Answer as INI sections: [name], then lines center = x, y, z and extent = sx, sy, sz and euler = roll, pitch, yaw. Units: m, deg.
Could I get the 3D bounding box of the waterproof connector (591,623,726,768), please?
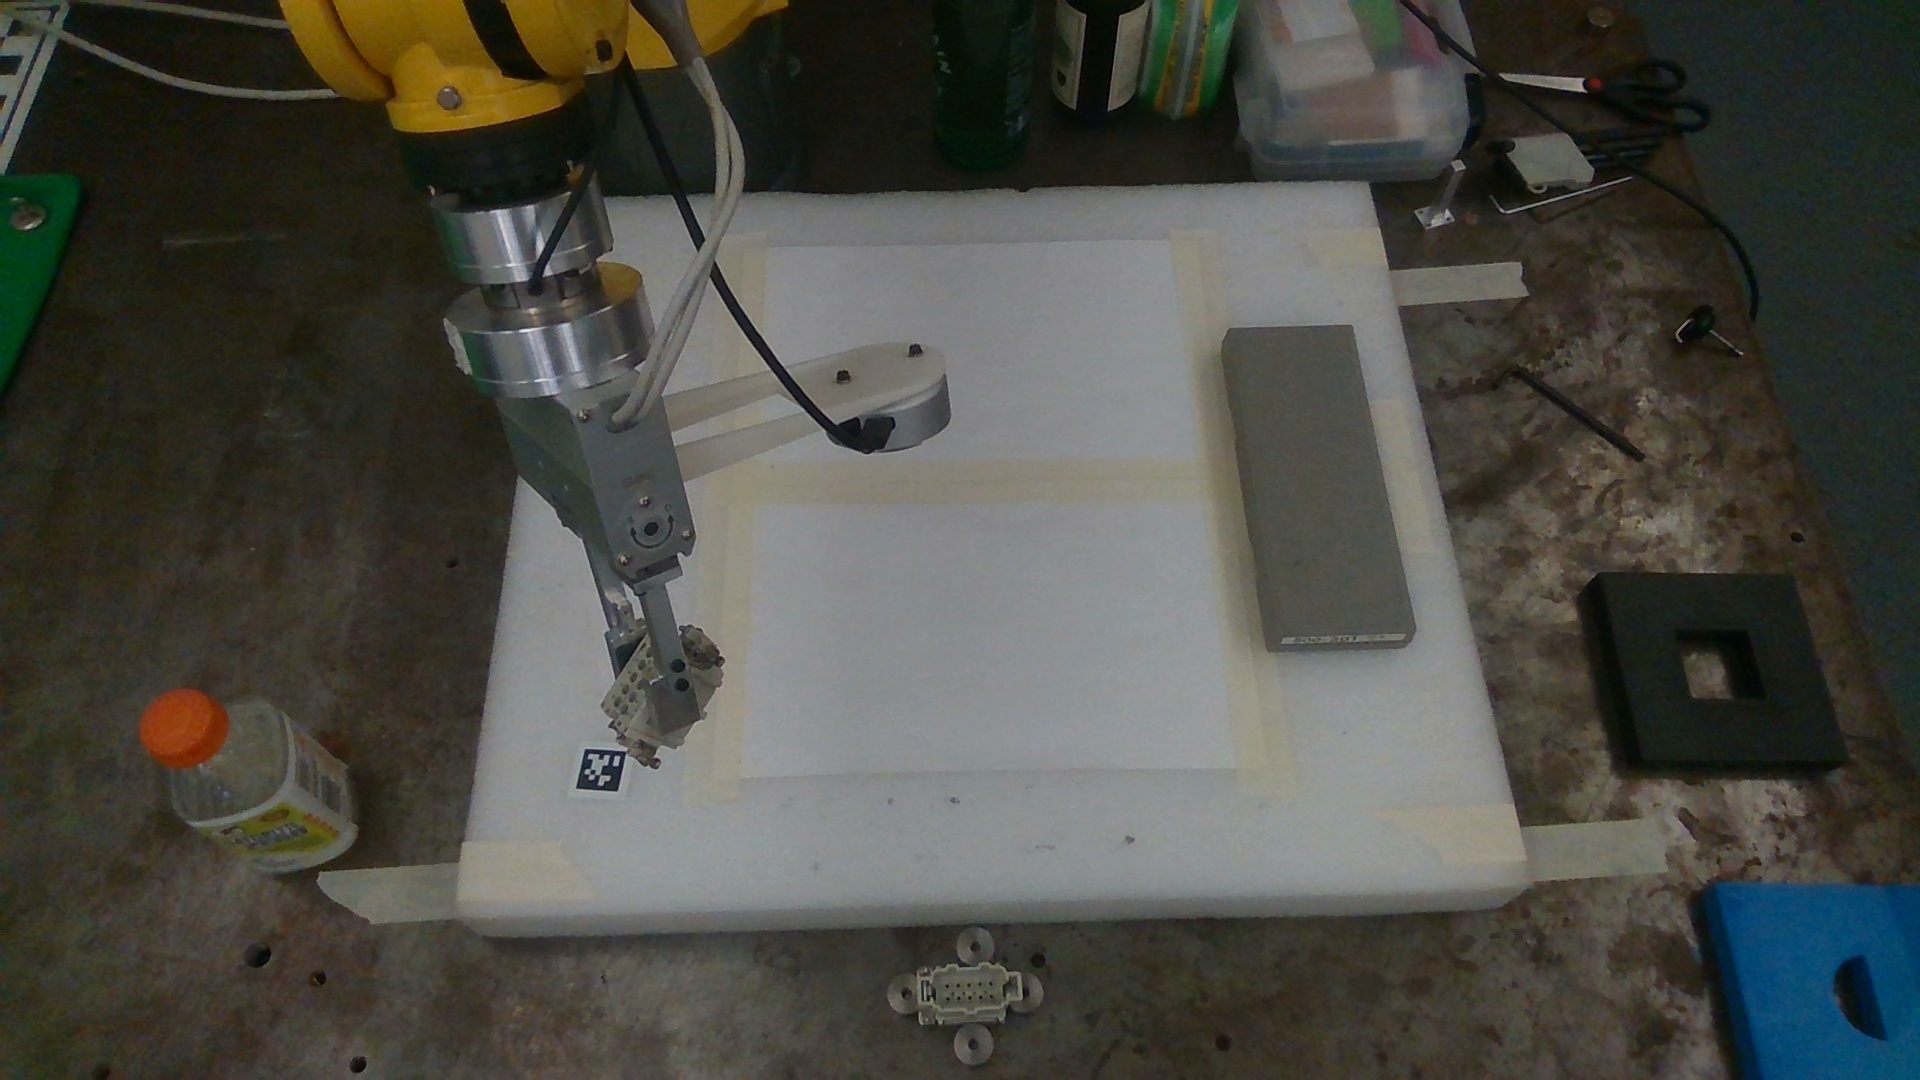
[waterproof connector]
center = -0.138, 0.073, 0.646
extent = 0.037, 0.038, 0.069
euler = 30, 79, 42
